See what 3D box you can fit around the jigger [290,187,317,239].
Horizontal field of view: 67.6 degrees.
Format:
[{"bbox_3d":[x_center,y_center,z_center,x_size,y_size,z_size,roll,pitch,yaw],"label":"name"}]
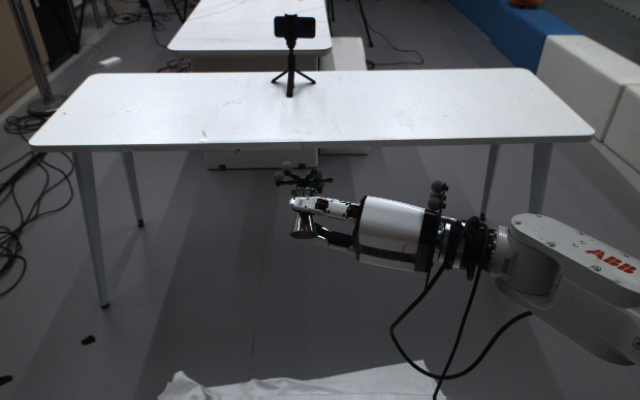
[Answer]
[{"bbox_3d":[-0.024,0.018,0.716,0.043,0.043,0.071,1,70,-2],"label":"jigger"}]
